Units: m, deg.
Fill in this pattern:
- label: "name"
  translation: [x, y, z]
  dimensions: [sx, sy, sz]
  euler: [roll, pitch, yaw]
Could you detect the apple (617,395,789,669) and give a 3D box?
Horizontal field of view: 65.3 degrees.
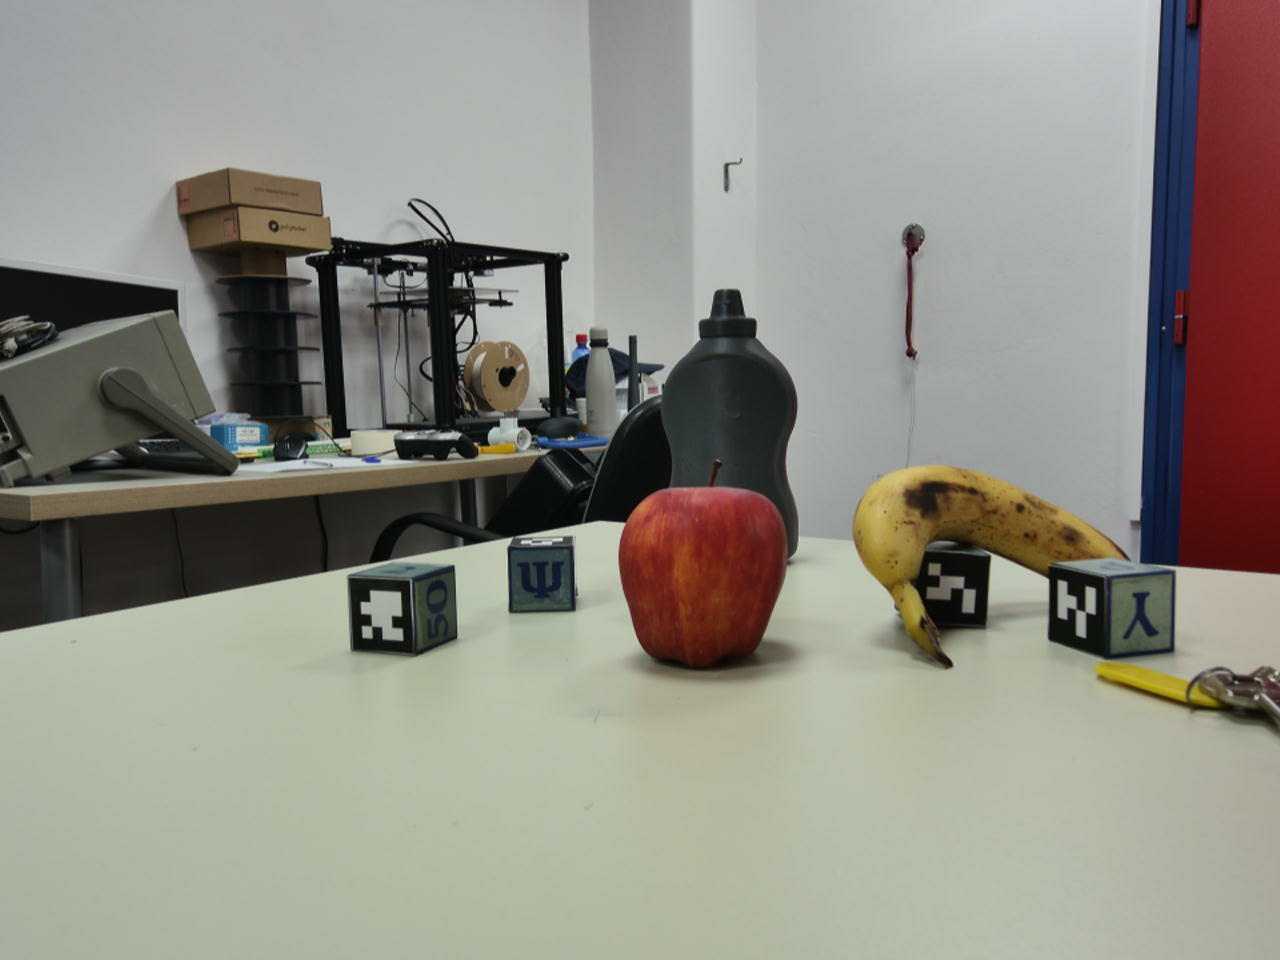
- label: "apple"
  translation: [0.031, 0.037, 0.463]
  dimensions: [0.083, 0.090, 0.083]
  euler: [1, 3, 0]
